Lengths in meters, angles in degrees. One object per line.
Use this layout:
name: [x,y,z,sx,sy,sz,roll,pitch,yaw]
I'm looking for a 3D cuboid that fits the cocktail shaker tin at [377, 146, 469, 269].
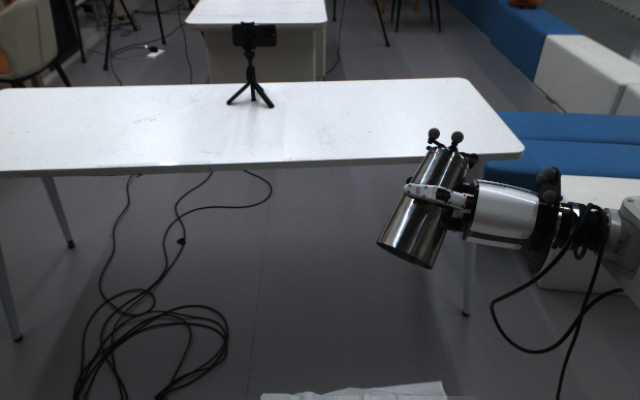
cocktail shaker tin: [0.164,0.003,0.736,0.093,0.093,0.170,21,81,25]
